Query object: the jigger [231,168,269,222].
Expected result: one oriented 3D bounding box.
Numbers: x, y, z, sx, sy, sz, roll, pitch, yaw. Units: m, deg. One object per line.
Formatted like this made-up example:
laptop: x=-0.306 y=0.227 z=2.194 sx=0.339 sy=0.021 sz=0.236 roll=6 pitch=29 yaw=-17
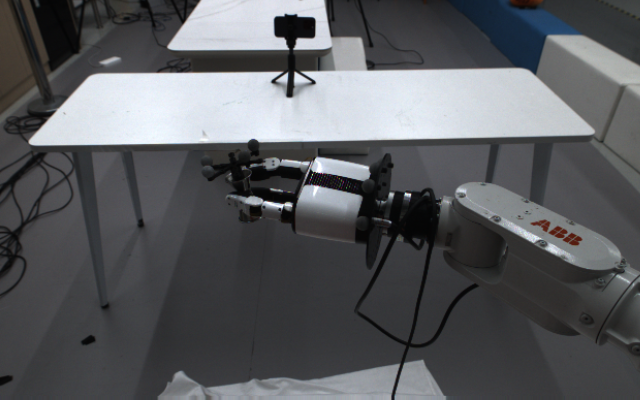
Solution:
jigger: x=-0.106 y=-0.006 z=0.698 sx=0.043 sy=0.071 sz=0.043 roll=-12 pitch=29 yaw=7
